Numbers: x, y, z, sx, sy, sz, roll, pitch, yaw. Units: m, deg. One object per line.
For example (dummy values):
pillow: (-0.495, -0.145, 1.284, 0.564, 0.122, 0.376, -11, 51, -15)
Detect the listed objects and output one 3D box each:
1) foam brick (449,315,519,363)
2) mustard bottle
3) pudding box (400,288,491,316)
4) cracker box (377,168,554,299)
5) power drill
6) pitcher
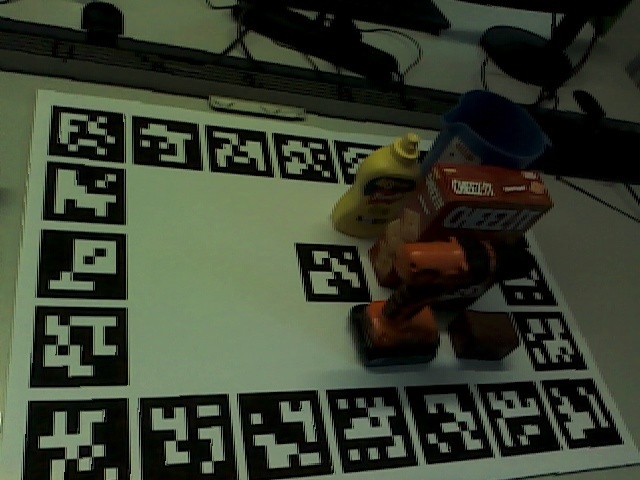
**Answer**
foam brick: (0.235, 0.144, 0.891, 0.078, 0.051, 0.053, 5, 54, -20)
mustard bottle: (0.098, -0.084, 0.906, 0.096, 0.191, 0.058, 14, 51, -13)
pudding box: (0.181, 0.069, 0.883, 0.113, 0.090, 0.039, 3, 51, -18)
cracker box: (0.197, -0.001, 0.874, 0.163, 0.213, 0.072, 0, 52, -20)
power drill: (0.157, 0.075, 0.775, 0.183, 0.187, 0.057, 3, 50, -22)
pitcher: (0.225, -0.084, 0.945, 0.188, 0.242, 0.134, 8, 51, -16)
